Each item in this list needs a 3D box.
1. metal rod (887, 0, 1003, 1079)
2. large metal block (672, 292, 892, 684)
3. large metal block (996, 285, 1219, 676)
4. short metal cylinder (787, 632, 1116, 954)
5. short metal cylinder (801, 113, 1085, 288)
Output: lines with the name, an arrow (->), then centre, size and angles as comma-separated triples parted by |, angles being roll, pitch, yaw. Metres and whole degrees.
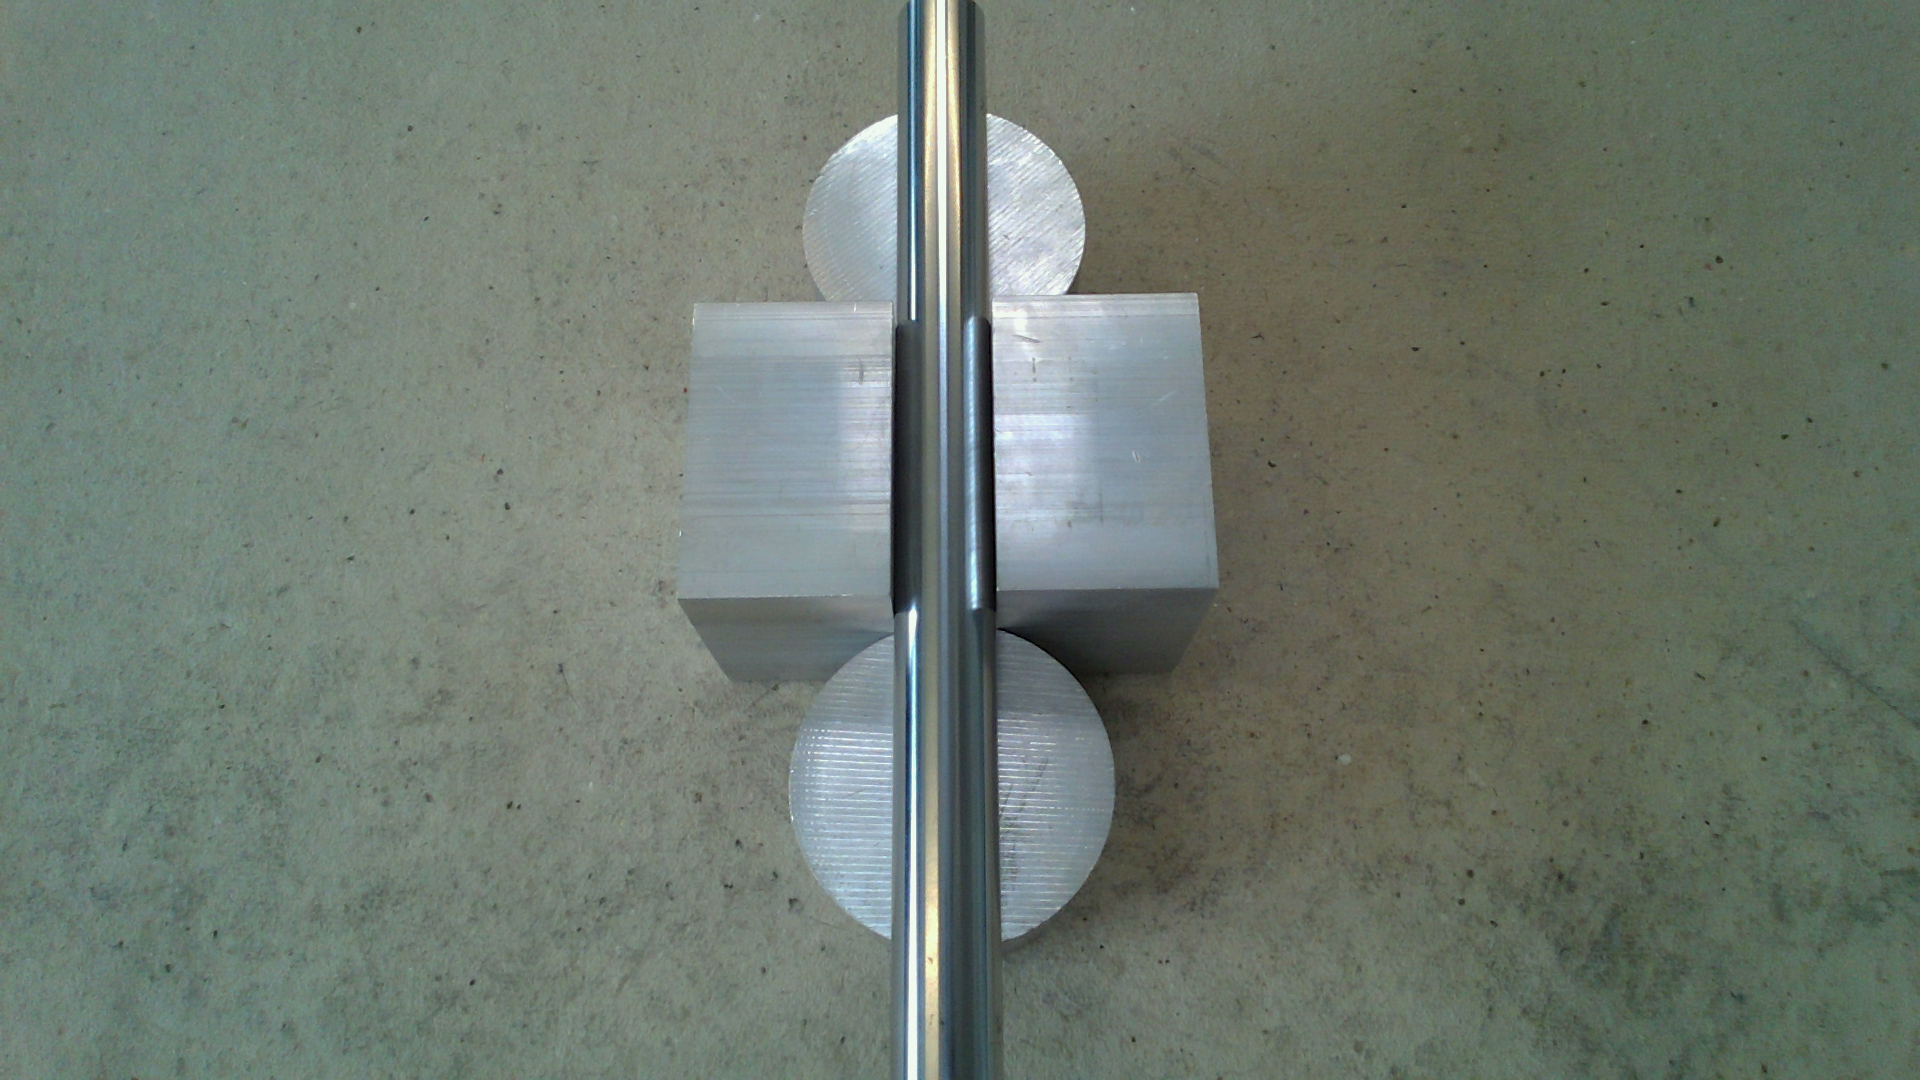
metal rod -> -0.005, -0.008, 0.344 | 0.025, 0.025, 0.300 | -1, 70, 0
large metal block -> -0.042, -0.010, 0.369 | 0.050, 0.080, 0.080 | -1, 70, 0
large metal block -> 0.035, -0.012, 0.370 | 0.050, 0.080, 0.080 | -1, 70, 0
short metal cylinder -> -0.002, 0.068, 0.357 | 0.080, 0.050, 0.080 | 0, 69, 0
short metal cylinder -> -0.005, -0.080, 0.411 | 0.080, 0.050, 0.080 | 0, 69, 0
